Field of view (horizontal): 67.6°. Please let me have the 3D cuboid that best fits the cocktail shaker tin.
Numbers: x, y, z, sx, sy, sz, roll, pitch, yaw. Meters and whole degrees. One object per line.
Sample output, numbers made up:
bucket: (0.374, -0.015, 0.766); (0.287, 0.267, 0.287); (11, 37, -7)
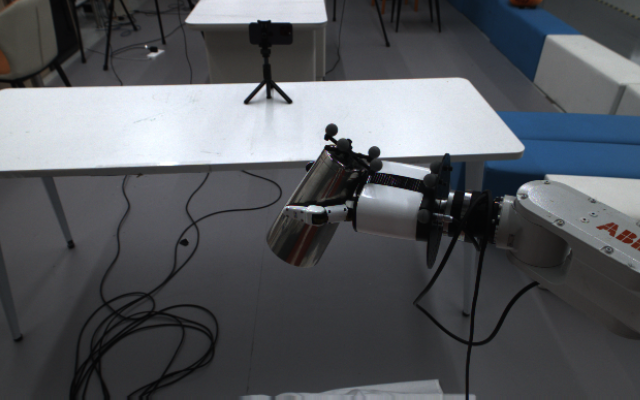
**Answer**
cocktail shaker tin: (-0.002, 0.003, 0.712); (0.093, 0.170, 0.093); (25, 29, -15)
